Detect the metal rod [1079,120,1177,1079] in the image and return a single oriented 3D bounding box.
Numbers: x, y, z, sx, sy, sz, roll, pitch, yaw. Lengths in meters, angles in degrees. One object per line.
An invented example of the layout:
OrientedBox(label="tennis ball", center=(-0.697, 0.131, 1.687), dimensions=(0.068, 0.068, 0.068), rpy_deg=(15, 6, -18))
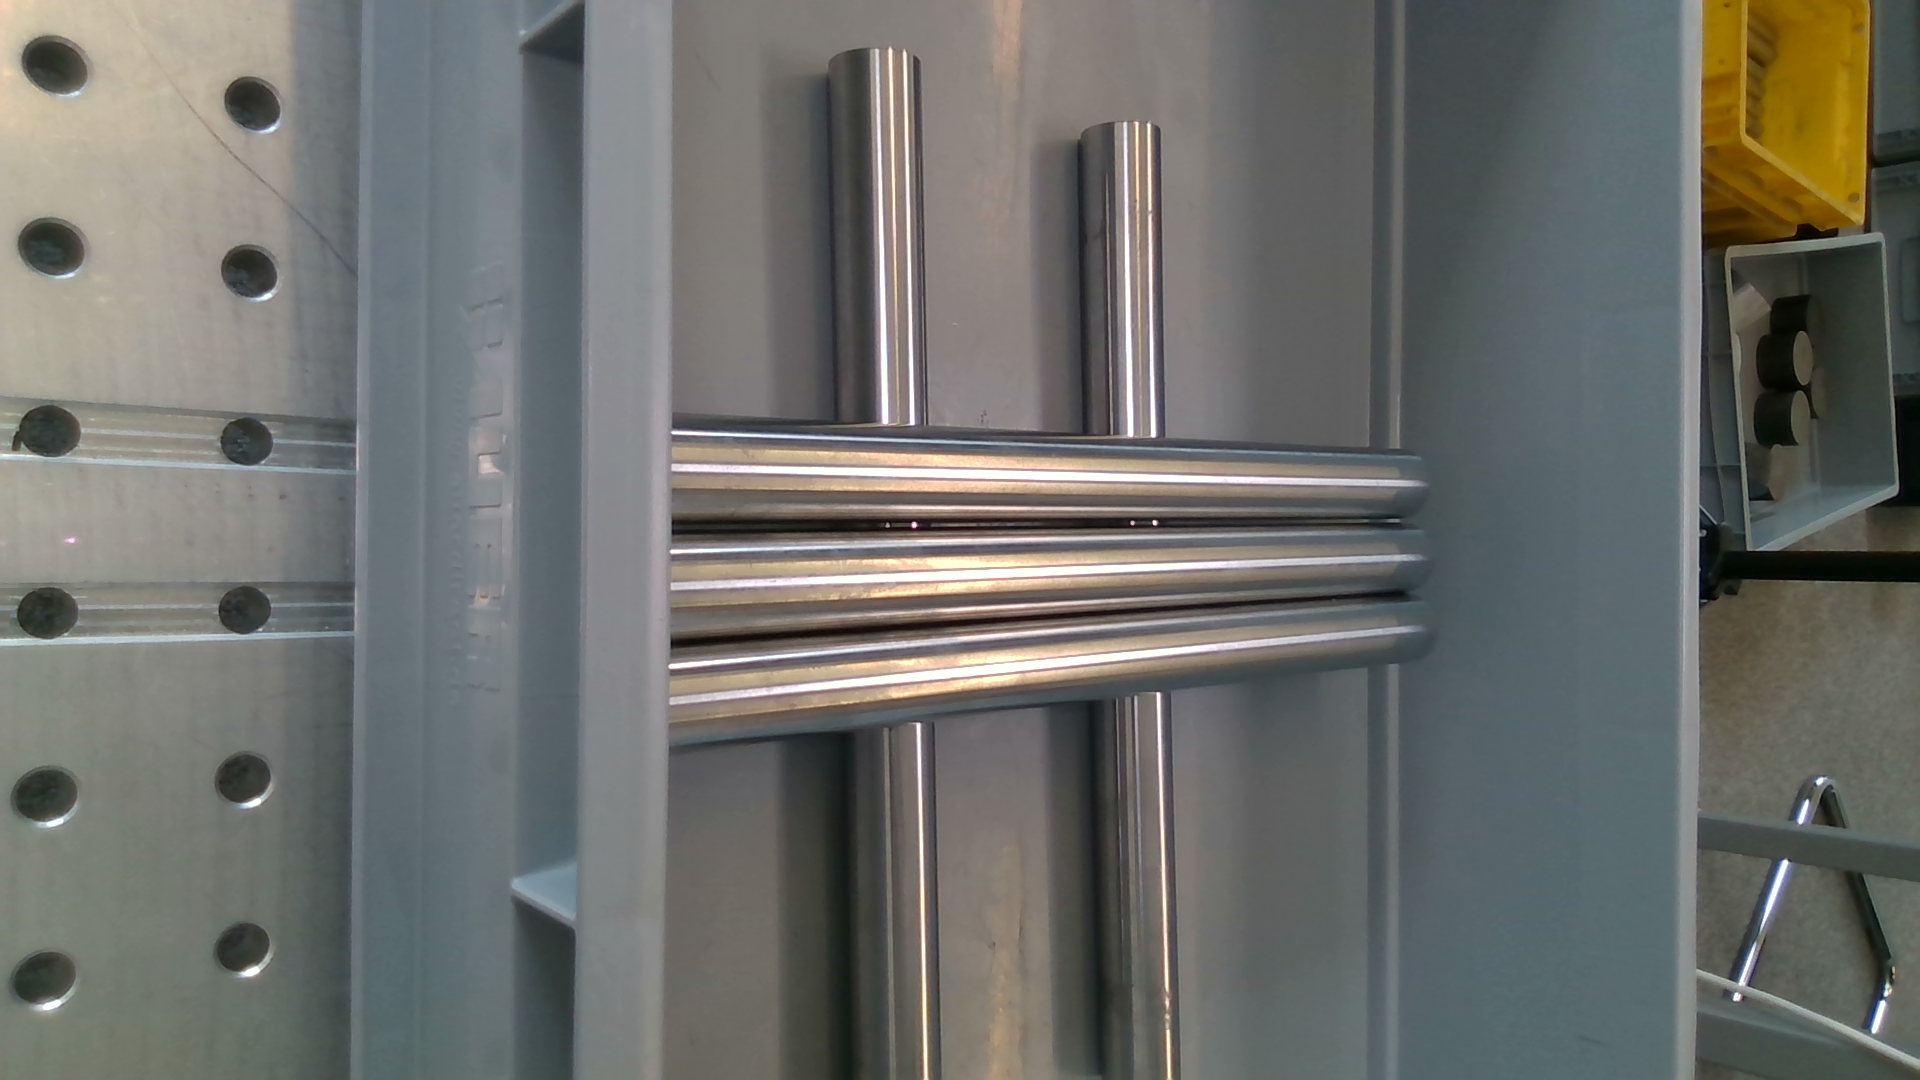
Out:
OrientedBox(label="metal rod", center=(0.053, 0.022, 0.436), dimensions=(0.025, 0.025, 0.300), rpy_deg=(-2, 92, -40))

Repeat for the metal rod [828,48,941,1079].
OrientedBox(label="metal rod", center=(-0.020, 0.022, 0.374), dimensions=(0.025, 0.025, 0.300), rpy_deg=(-2, 91, -40))

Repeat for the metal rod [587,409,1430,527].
OrientedBox(label="metal rod", center=(0.041, -0.018, 0.390), dimensions=(0.300, 0.025, 0.025), rpy_deg=(-1, 91, -40))

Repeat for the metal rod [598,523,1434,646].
OrientedBox(label="metal rod", center=(0.043, 0.008, 0.392), dimensions=(0.300, 0.025, 0.025), rpy_deg=(-1, 91, -40))

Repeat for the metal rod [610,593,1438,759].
OrientedBox(label="metal rod", center=(0.045, 0.032, 0.394), dimensions=(0.300, 0.025, 0.025), rpy_deg=(-1, 91, -40))
